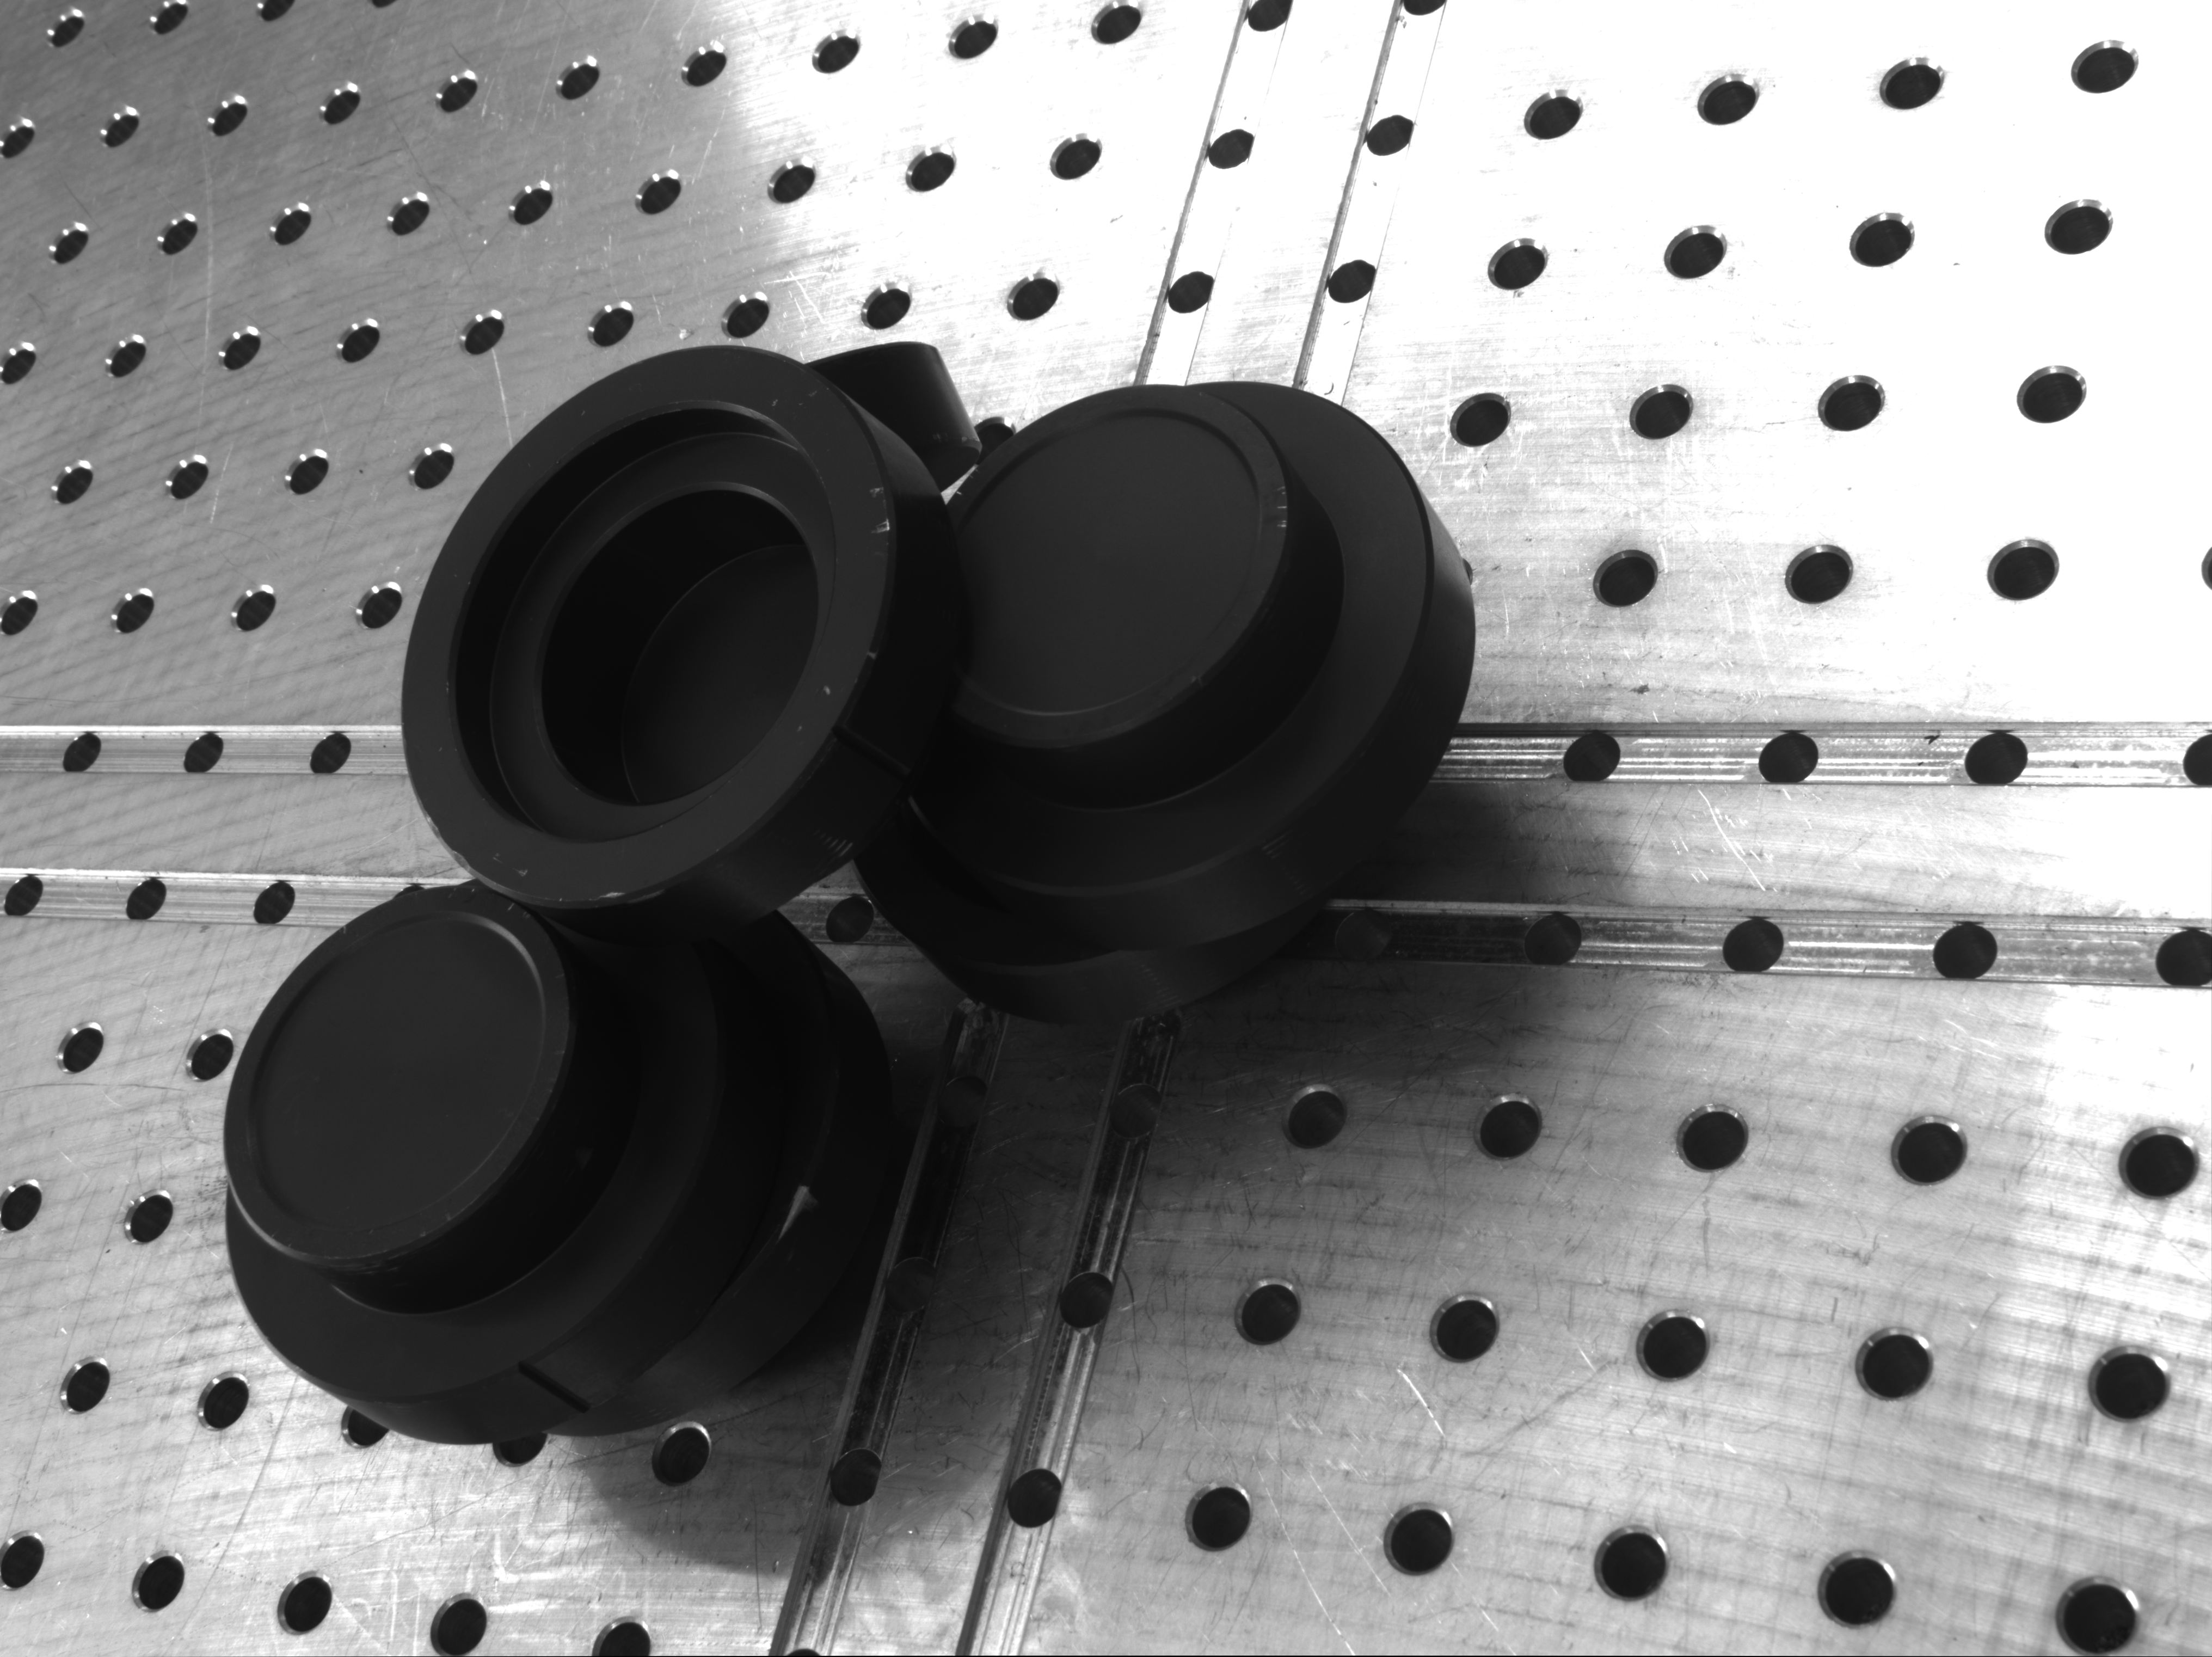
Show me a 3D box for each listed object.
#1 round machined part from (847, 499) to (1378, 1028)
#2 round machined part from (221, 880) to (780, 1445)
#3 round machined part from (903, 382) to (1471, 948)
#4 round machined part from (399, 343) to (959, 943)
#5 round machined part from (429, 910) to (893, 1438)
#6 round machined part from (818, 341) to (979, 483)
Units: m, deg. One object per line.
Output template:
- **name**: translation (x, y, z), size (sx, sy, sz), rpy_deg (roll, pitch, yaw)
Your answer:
- **round machined part**: translation (-0.004, -0.019, 0.625), size (0.098, 0.042, 0.098), rpy_deg (-14, 56, 21)
- **round machined part**: translation (-0.107, 0.049, 0.610), size (0.098, 0.042, 0.098), rpy_deg (-14, 56, 21)
- **round machined part**: translation (0.006, -0.033, 0.599), size (0.098, 0.042, 0.098), rpy_deg (-14, 55, 21)
- **round machined part**: translation (-0.066, -0.027, 0.607), size (0.098, 0.042, 0.098), rpy_deg (-13, 63, 27)
- **round machined part**: translation (-0.089, 0.051, 0.628), size (0.098, 0.042, 0.098), rpy_deg (-14, 56, 21)
- **round machined part**: translation (-0.068, -0.050, 0.681), size (0.098, 0.098, 0.042), rpy_deg (-25, 88, 13)
